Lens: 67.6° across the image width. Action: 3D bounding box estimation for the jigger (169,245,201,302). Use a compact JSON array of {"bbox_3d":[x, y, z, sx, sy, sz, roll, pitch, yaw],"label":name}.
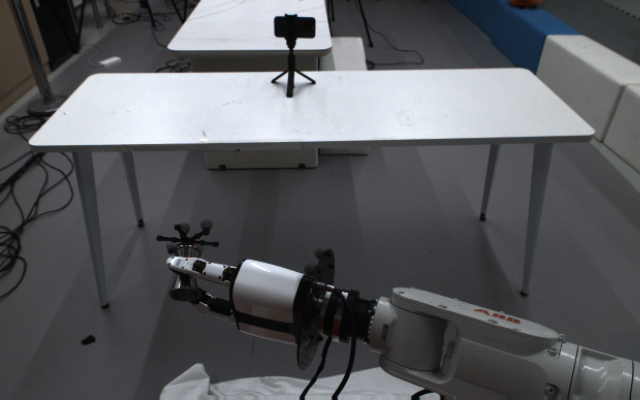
[{"bbox_3d":[-0.188,0.103,0.682,0.043,0.043,0.071,-3,57,-7],"label":"jigger"}]
